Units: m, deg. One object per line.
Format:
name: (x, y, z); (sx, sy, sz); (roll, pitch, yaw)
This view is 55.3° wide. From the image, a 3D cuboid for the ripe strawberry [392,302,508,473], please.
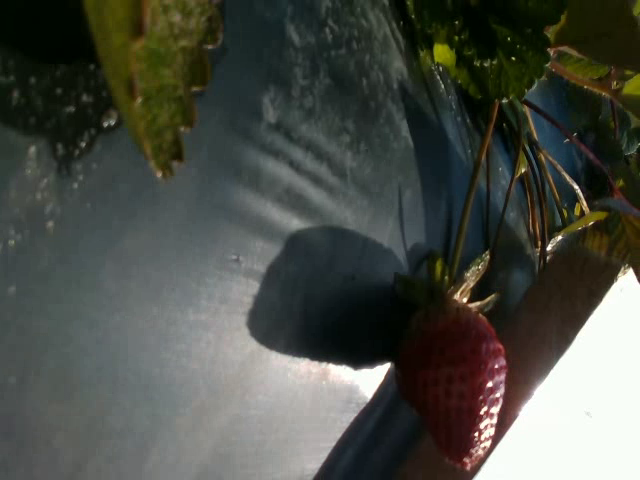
ripe strawberry: (0.027, 0.032, 0.130); (0.033, 0.038, 0.034); (-25, -38, 25)
